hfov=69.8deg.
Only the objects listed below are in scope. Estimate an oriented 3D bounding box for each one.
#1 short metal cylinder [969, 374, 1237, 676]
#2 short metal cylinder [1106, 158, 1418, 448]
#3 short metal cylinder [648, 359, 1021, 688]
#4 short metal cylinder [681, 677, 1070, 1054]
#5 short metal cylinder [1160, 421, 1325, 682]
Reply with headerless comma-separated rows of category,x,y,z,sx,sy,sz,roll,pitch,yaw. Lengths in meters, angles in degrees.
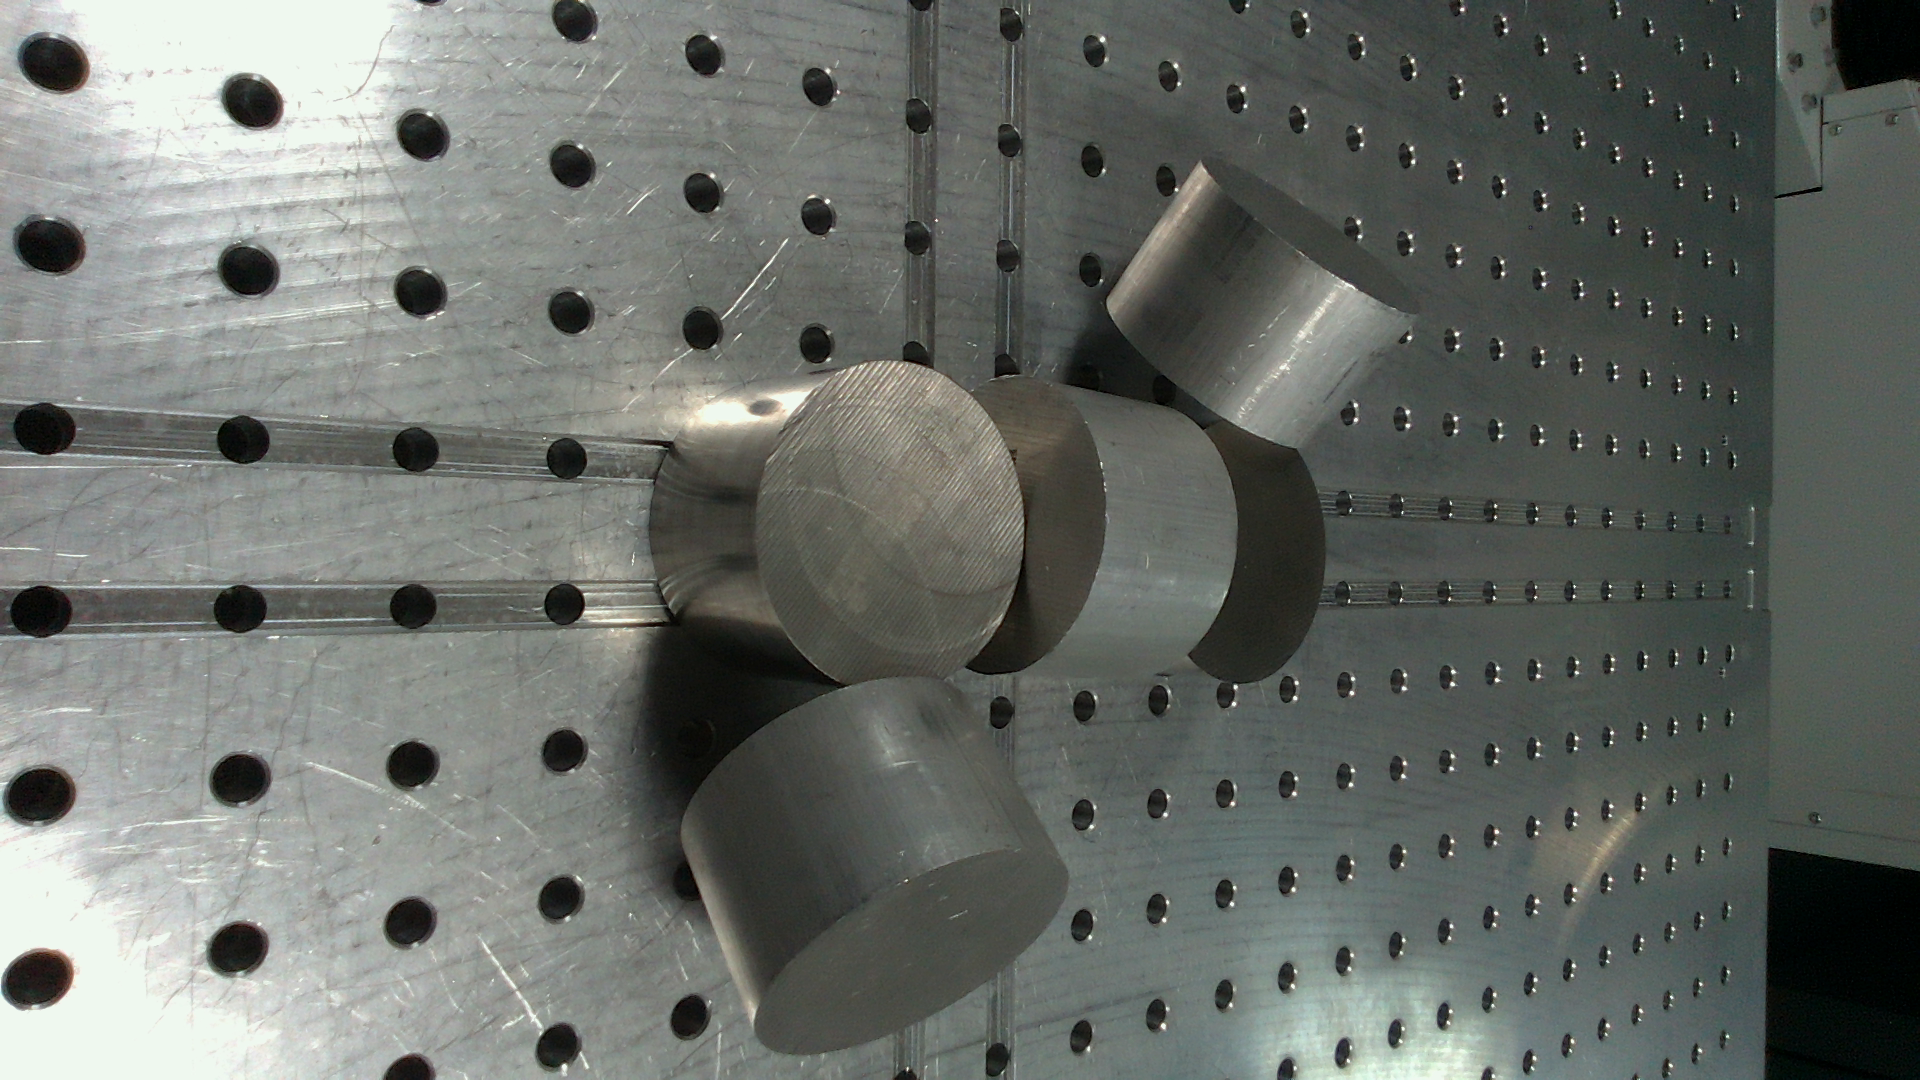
short metal cylinder,0.029,-0.002,0.380,0.050,0.080,0.080,6,86,-40
short metal cylinder,0.092,-0.073,0.424,0.080,0.080,0.050,11,125,-39
short metal cylinder,-0.031,-0.003,0.349,0.080,0.050,0.080,0,90,-40
short metal cylinder,-0.021,0.079,0.332,0.080,0.050,0.080,-21,144,-16
short metal cylinder,0.070,0.003,0.433,0.080,0.050,0.080,0,90,-40
